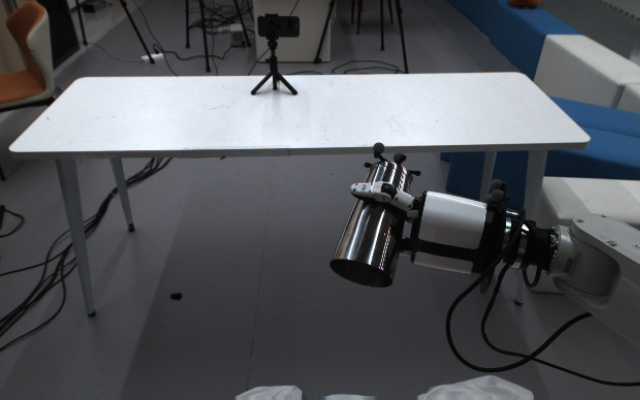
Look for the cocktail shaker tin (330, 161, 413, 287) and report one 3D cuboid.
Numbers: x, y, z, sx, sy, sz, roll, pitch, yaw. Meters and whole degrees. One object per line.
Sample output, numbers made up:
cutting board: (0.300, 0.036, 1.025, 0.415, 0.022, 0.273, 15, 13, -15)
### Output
cocktail shaker tin: (0.082, 0.030, 0.705, 0.093, 0.093, 0.170, 13, 64, 16)
